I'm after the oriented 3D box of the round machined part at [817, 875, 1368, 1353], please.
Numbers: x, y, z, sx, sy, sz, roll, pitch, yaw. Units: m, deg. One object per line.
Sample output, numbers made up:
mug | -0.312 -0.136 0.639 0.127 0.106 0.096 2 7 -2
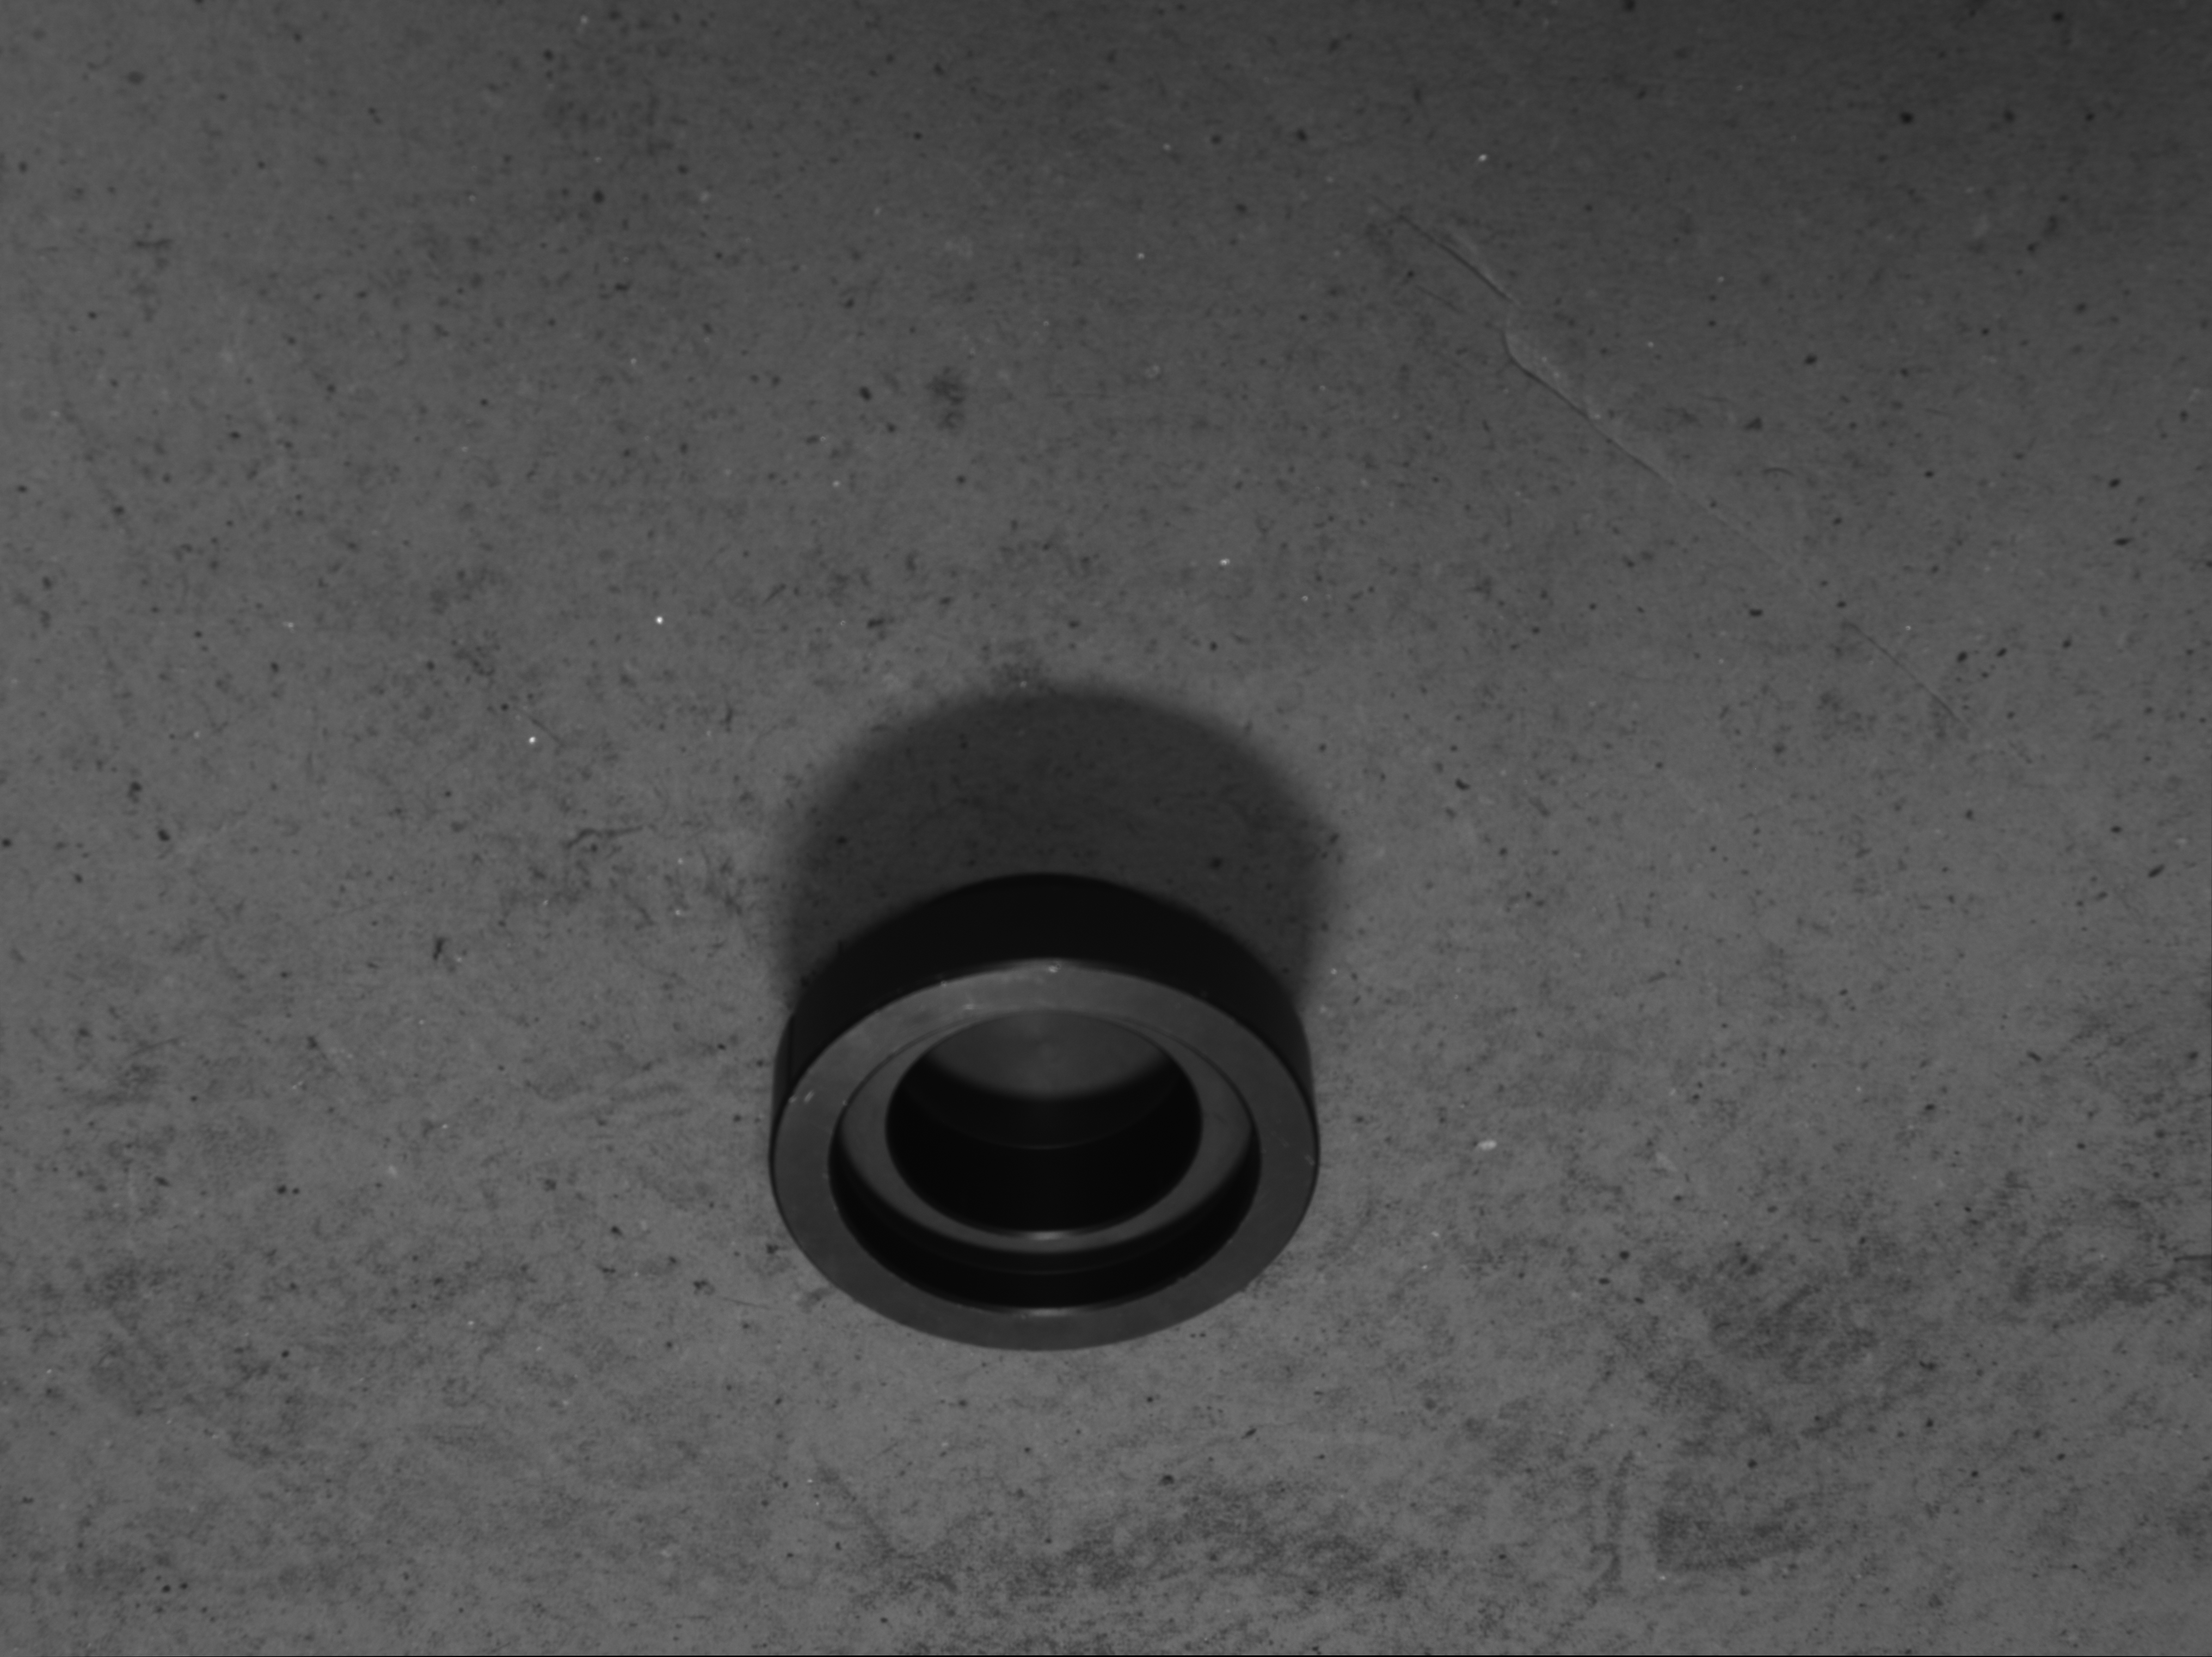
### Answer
round machined part | -0.003 0.047 0.667 0.098 0.042 0.098 -1 130 -1
